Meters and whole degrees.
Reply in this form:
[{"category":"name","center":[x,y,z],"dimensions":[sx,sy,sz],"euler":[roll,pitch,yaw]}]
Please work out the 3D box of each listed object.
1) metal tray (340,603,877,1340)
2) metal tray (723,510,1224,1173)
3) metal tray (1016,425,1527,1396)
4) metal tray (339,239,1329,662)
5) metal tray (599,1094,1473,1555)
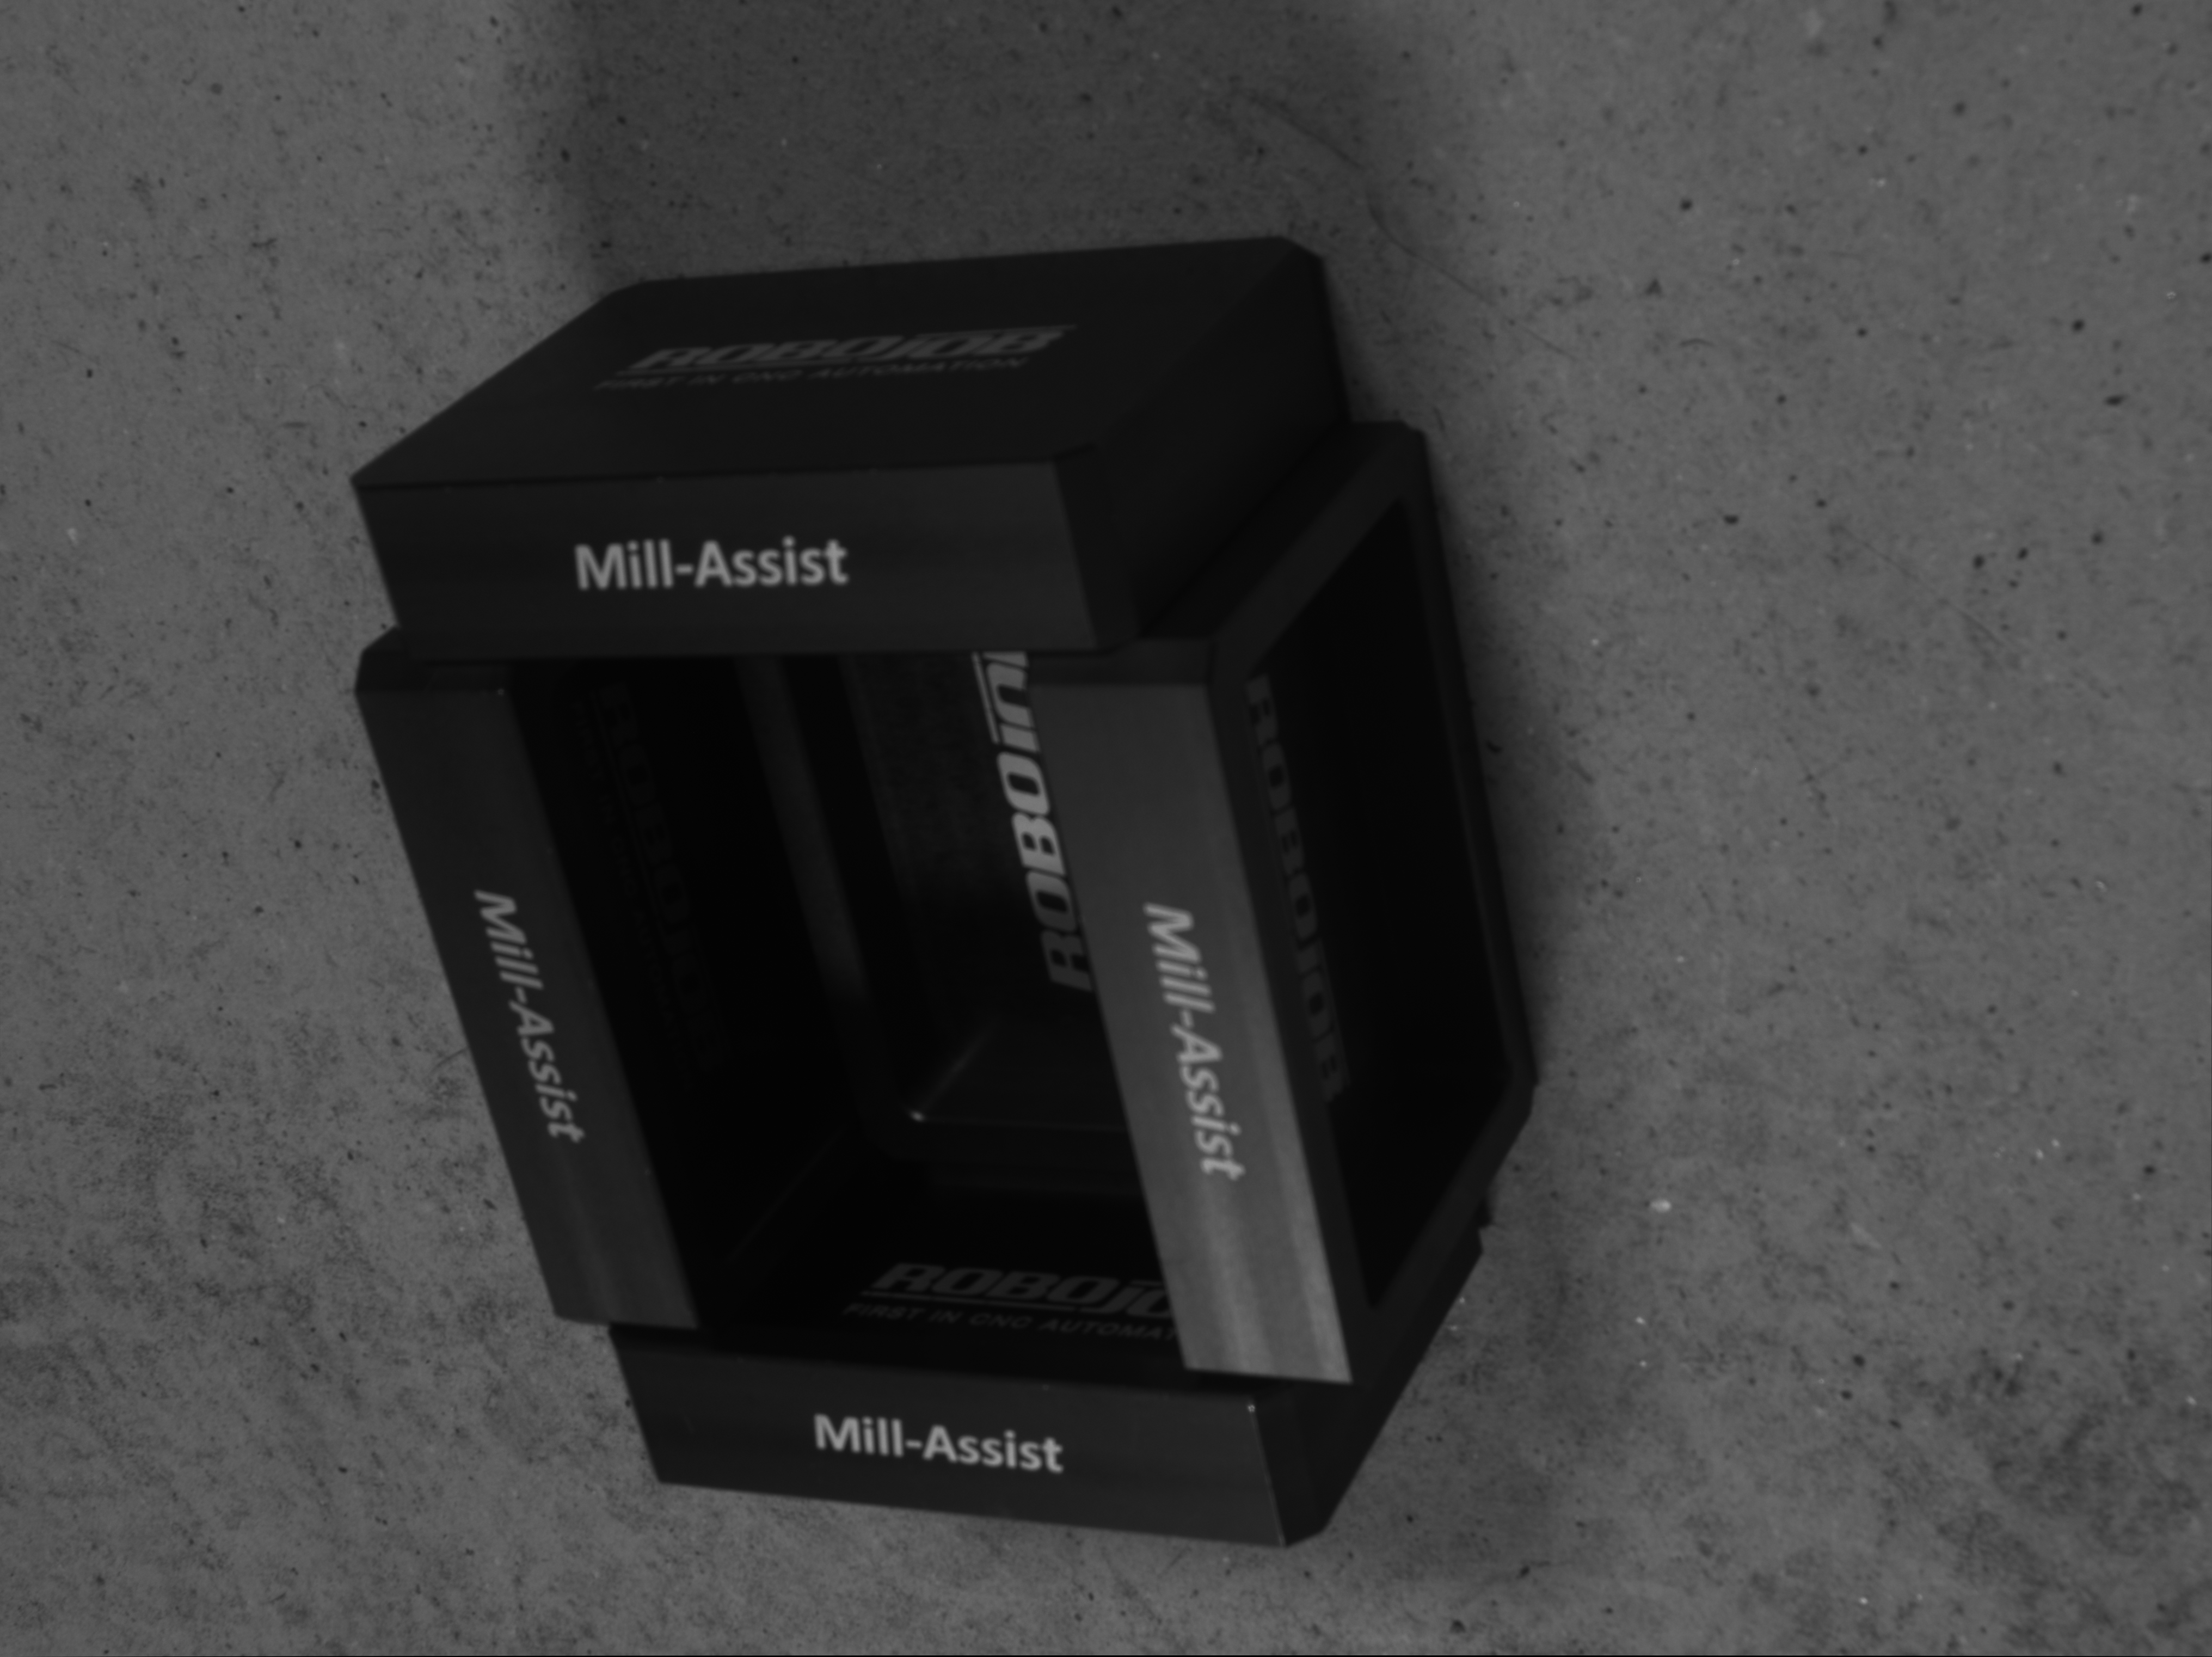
[{"category":"metal tray","center":[-0.079,0.011,0.635],"dimensions":[0.030,0.090,0.130],"euler":[1,119,26]},{"category":"metal tray","center":[-0.013,-0.003,0.632],"dimensions":[0.090,0.030,0.130],"euler":[1,119,26]},{"category":"metal tray","center":[0.030,0.012,0.582],"dimensions":[0.030,0.090,0.130],"euler":[1,119,26]},{"category":"metal tray","center":[-0.041,-0.059,0.574],"dimensions":[0.130,0.090,0.030],"euler":[1,118,26]},{"category":"metal tray","center":[-0.011,0.082,0.644],"dimensions":[0.130,0.090,0.030],"euler":[1,118,26]}]
